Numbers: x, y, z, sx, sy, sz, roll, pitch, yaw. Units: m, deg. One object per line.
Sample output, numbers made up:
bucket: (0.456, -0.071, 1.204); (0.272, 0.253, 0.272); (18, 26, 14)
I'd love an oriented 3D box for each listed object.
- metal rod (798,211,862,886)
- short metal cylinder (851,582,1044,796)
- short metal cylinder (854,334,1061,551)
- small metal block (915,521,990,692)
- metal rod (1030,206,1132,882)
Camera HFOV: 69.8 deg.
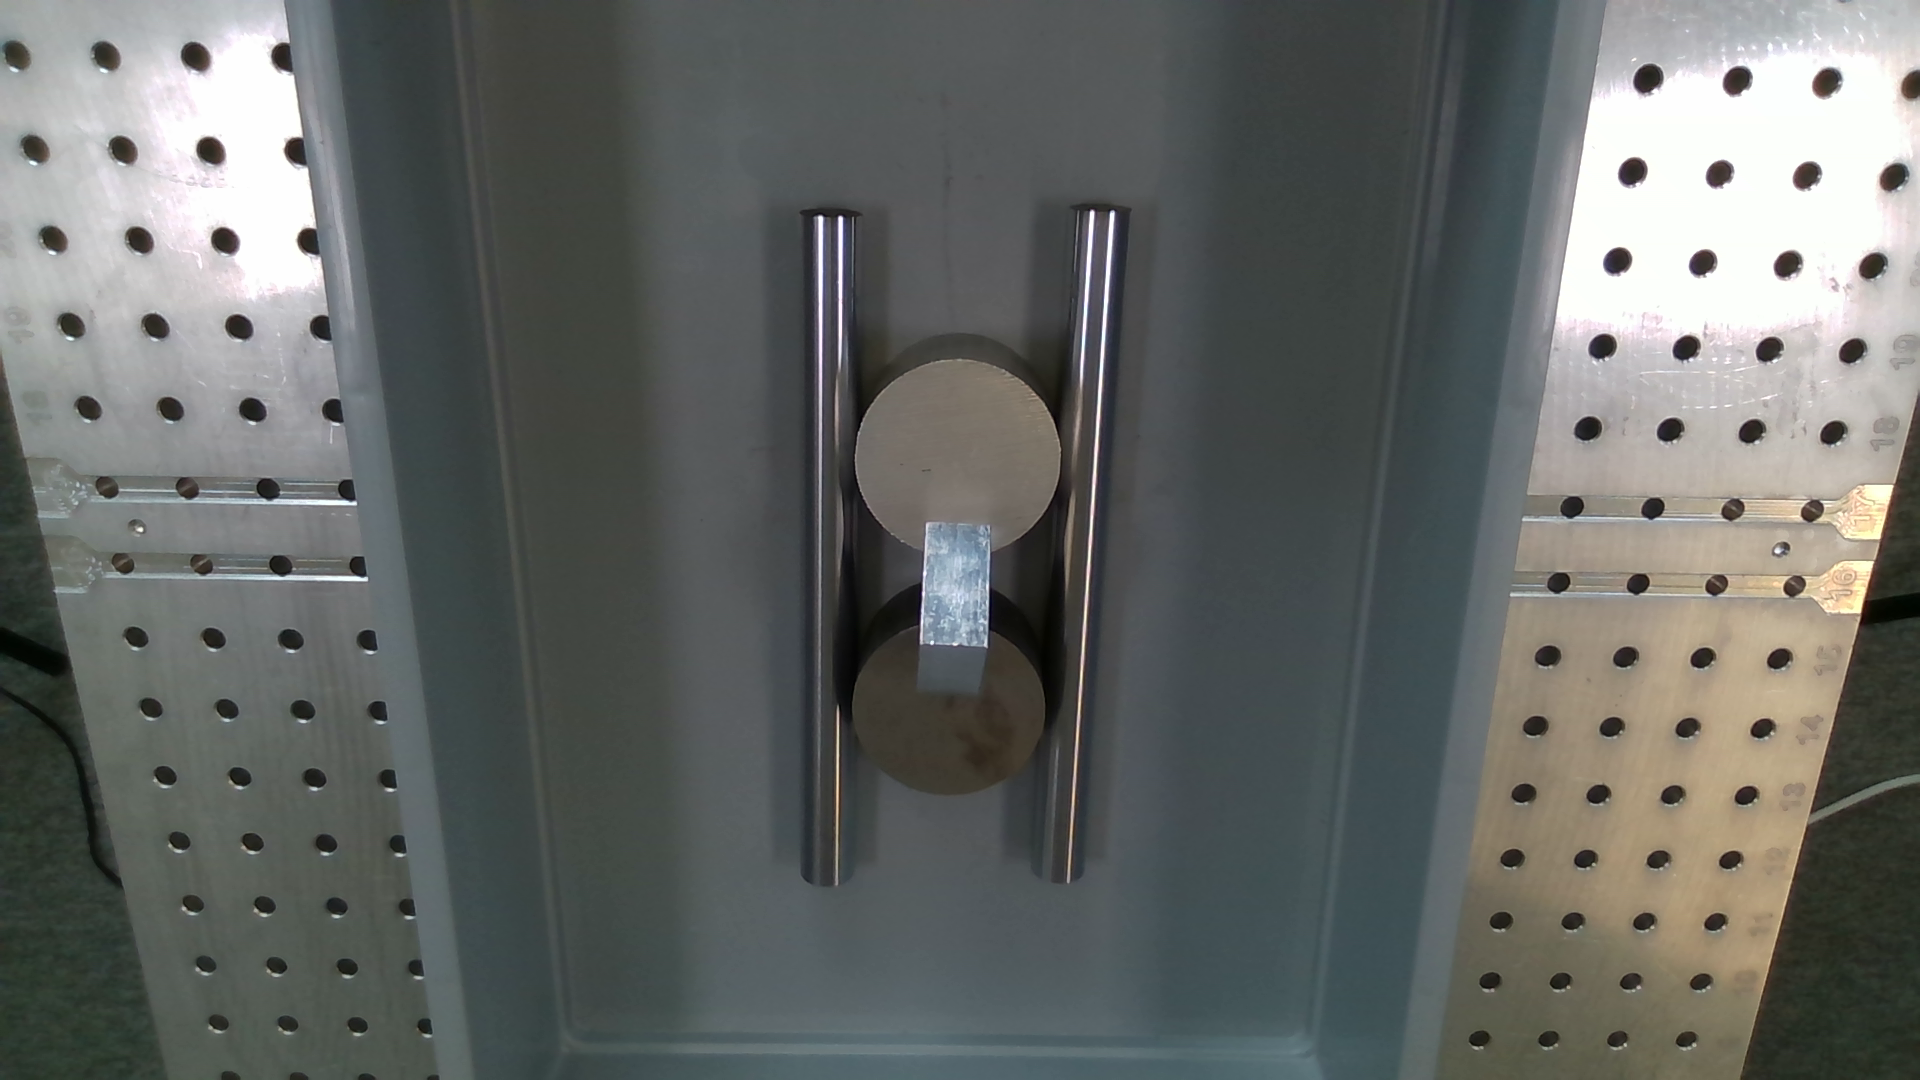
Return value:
metal rod: (-0.056, 0.013, 0.589); (0.025, 0.025, 0.301); (2, 110, -1)
short metal cylinder: (-0.005, 0.063, 0.594); (0.080, 0.050, 0.080); (0, 110, 0)
short metal cylinder: (-0.001, -0.040, 0.556); (0.080, 0.050, 0.080); (0, 110, 0)
small metal block: (-0.003, 0.027, 0.532); (0.025, 0.050, 0.050); (3, 153, -2)
metal rod: (0.050, 0.011, 0.588); (0.025, 0.025, 0.301); (2, 110, -1)
